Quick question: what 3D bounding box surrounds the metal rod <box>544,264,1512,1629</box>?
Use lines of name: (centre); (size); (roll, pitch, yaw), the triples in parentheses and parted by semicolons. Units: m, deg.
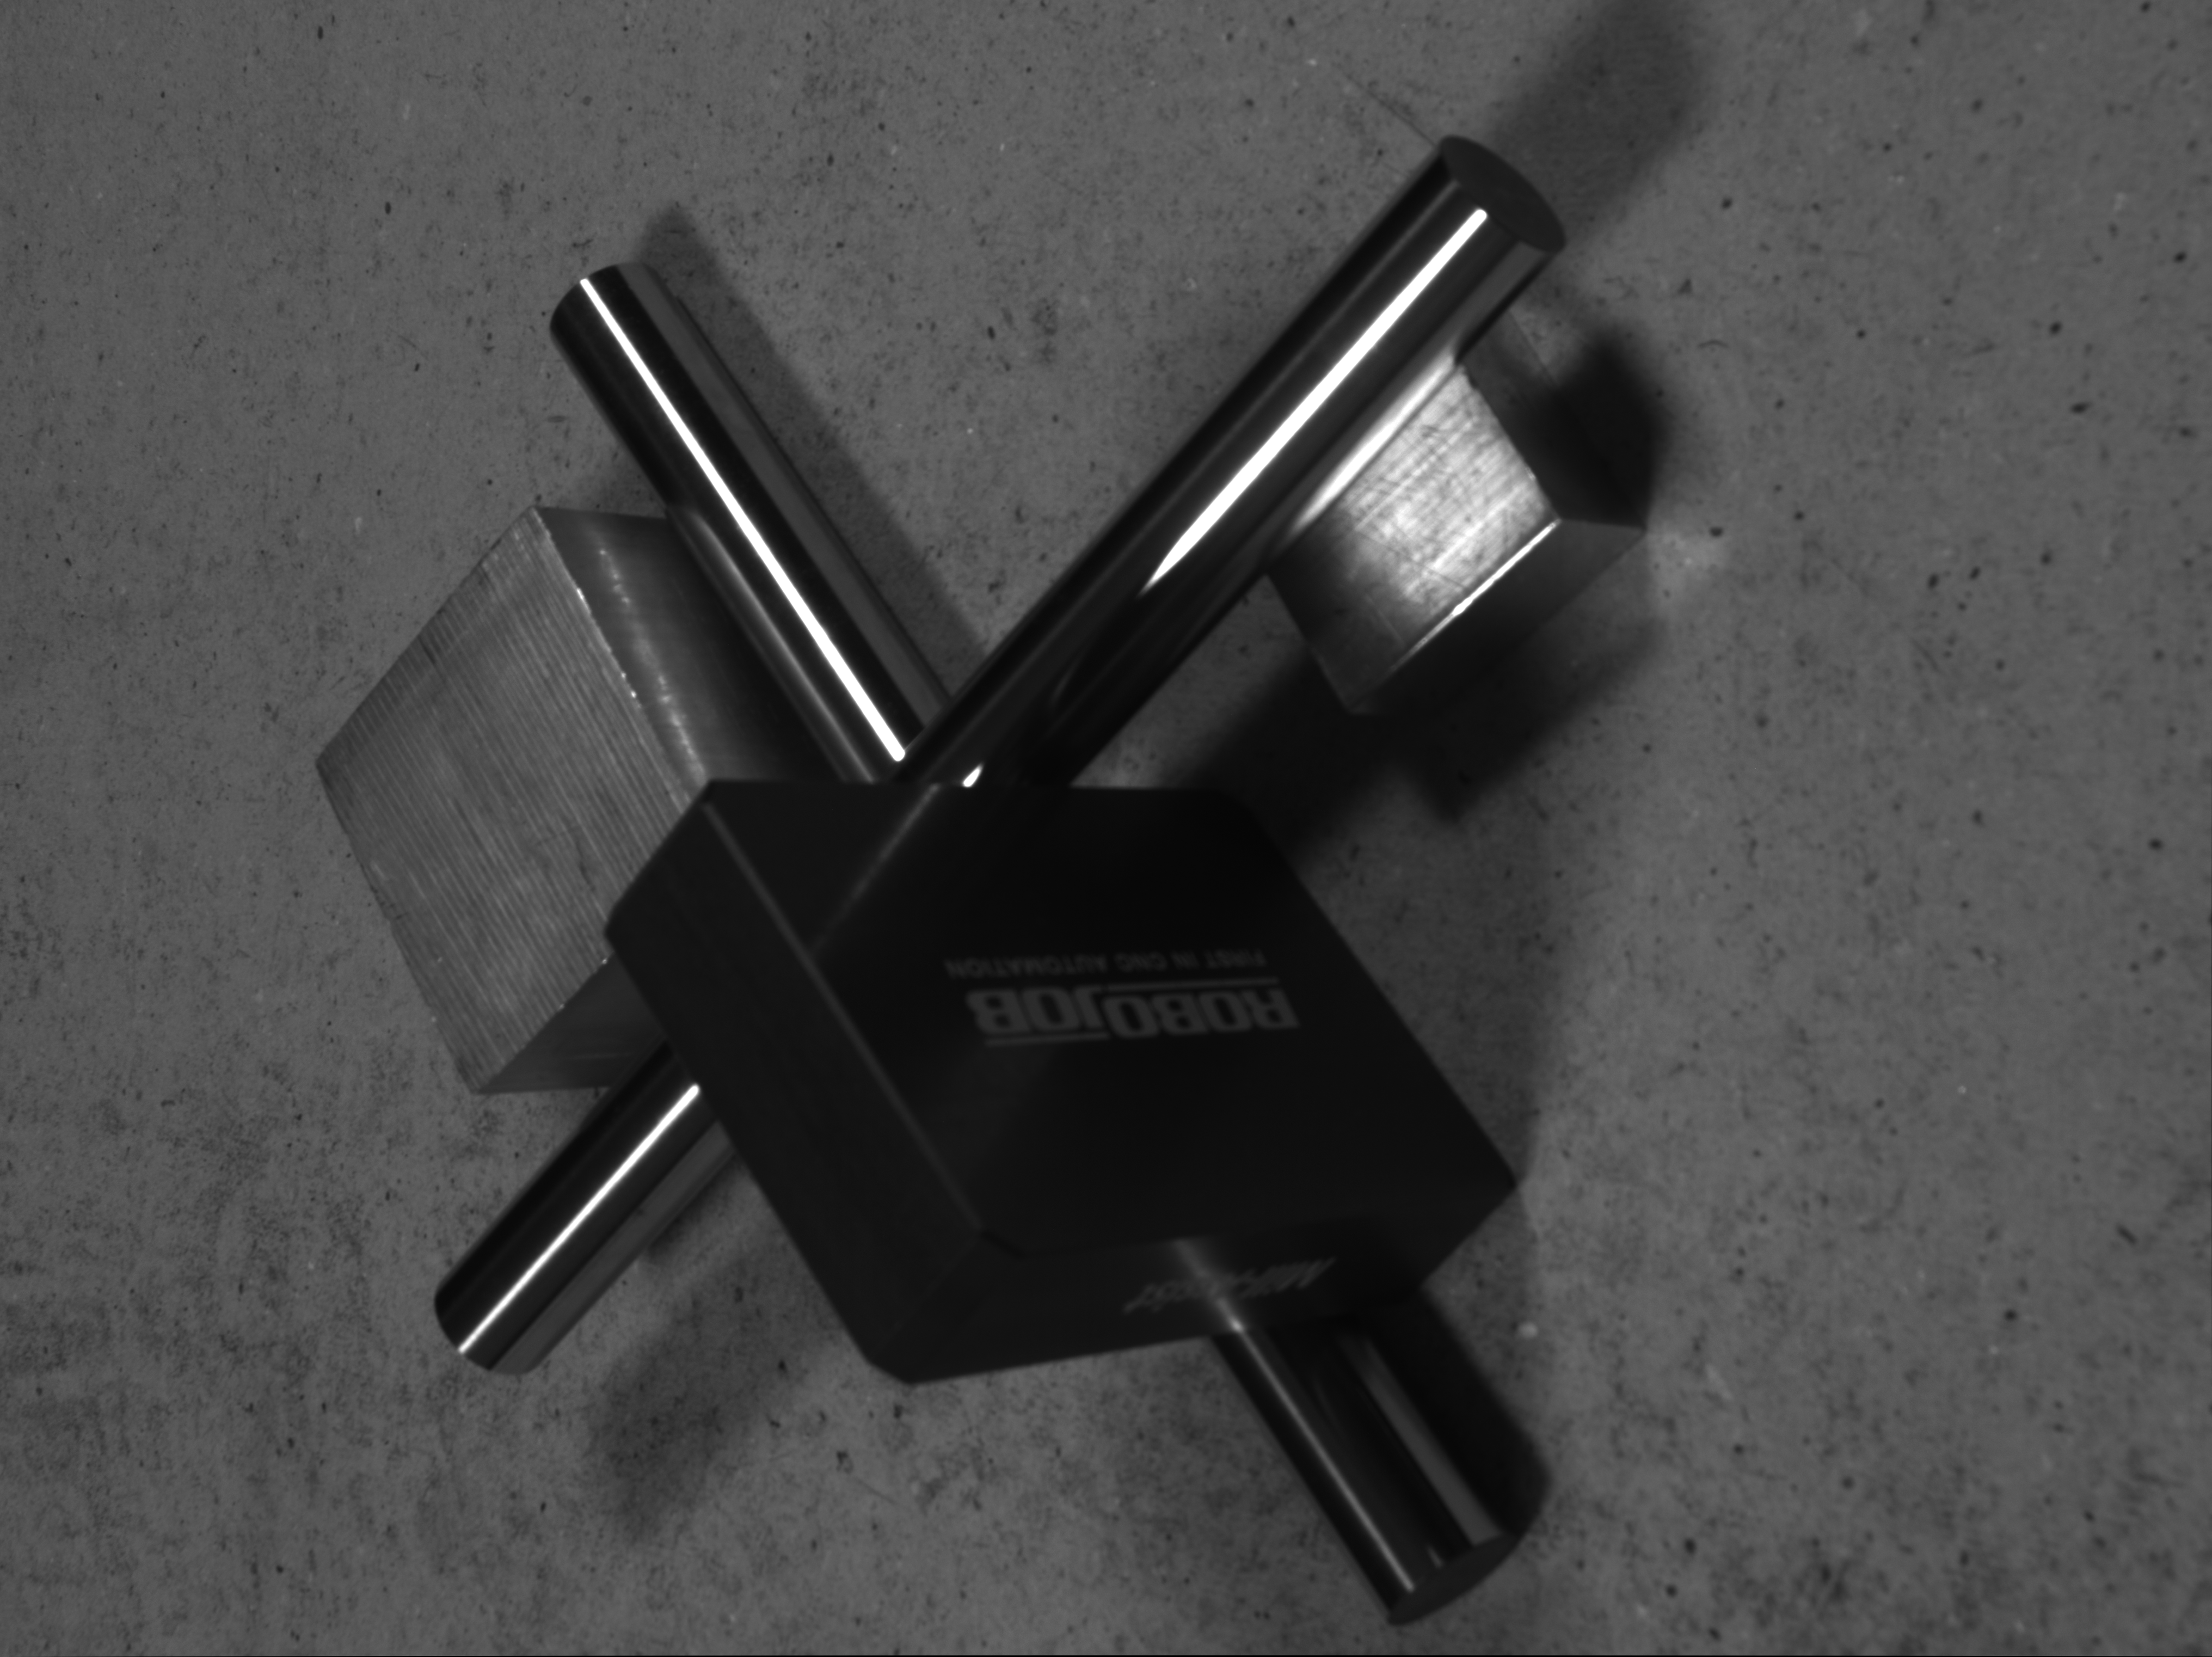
metal rod: (-0.022, 0.010, 0.655); (0.025, 0.025, 0.299); (-49, 61, 28)

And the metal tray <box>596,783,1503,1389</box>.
metal tray: (-0.006, 0.036, 0.572); (0.030, 0.130, 0.090); (-50, 60, 28)

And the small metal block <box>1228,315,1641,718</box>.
small metal block: (0.050, -0.053, 0.595); (0.050, 0.025, 0.050); (-43, 64, 31)

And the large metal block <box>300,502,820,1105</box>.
large metal block: (-0.098, -0.004, 0.700); (0.080, 0.050, 0.080); (-44, 64, 30)

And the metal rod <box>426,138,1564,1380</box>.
metal rod: (-0.030, 0.000, 0.628); (0.300, 0.025, 0.025); (-47, 62, 29)
